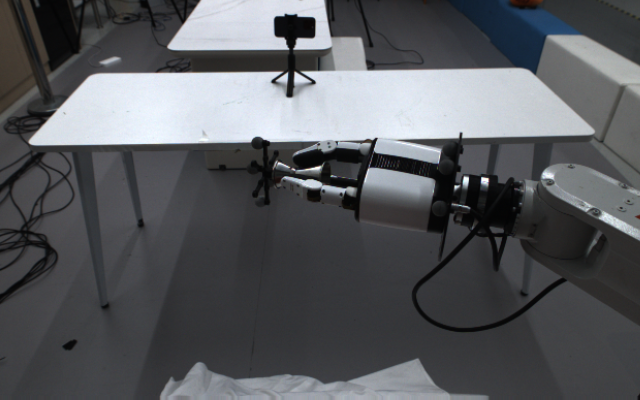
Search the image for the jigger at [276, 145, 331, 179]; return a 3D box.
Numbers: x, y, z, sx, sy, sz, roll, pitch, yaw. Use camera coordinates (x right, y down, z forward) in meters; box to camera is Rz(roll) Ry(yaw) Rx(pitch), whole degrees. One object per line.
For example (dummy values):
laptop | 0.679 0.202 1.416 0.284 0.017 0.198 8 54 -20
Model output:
jigger | -0.018 -0.035 0.638 0.071 0.043 0.043 5 34 17
